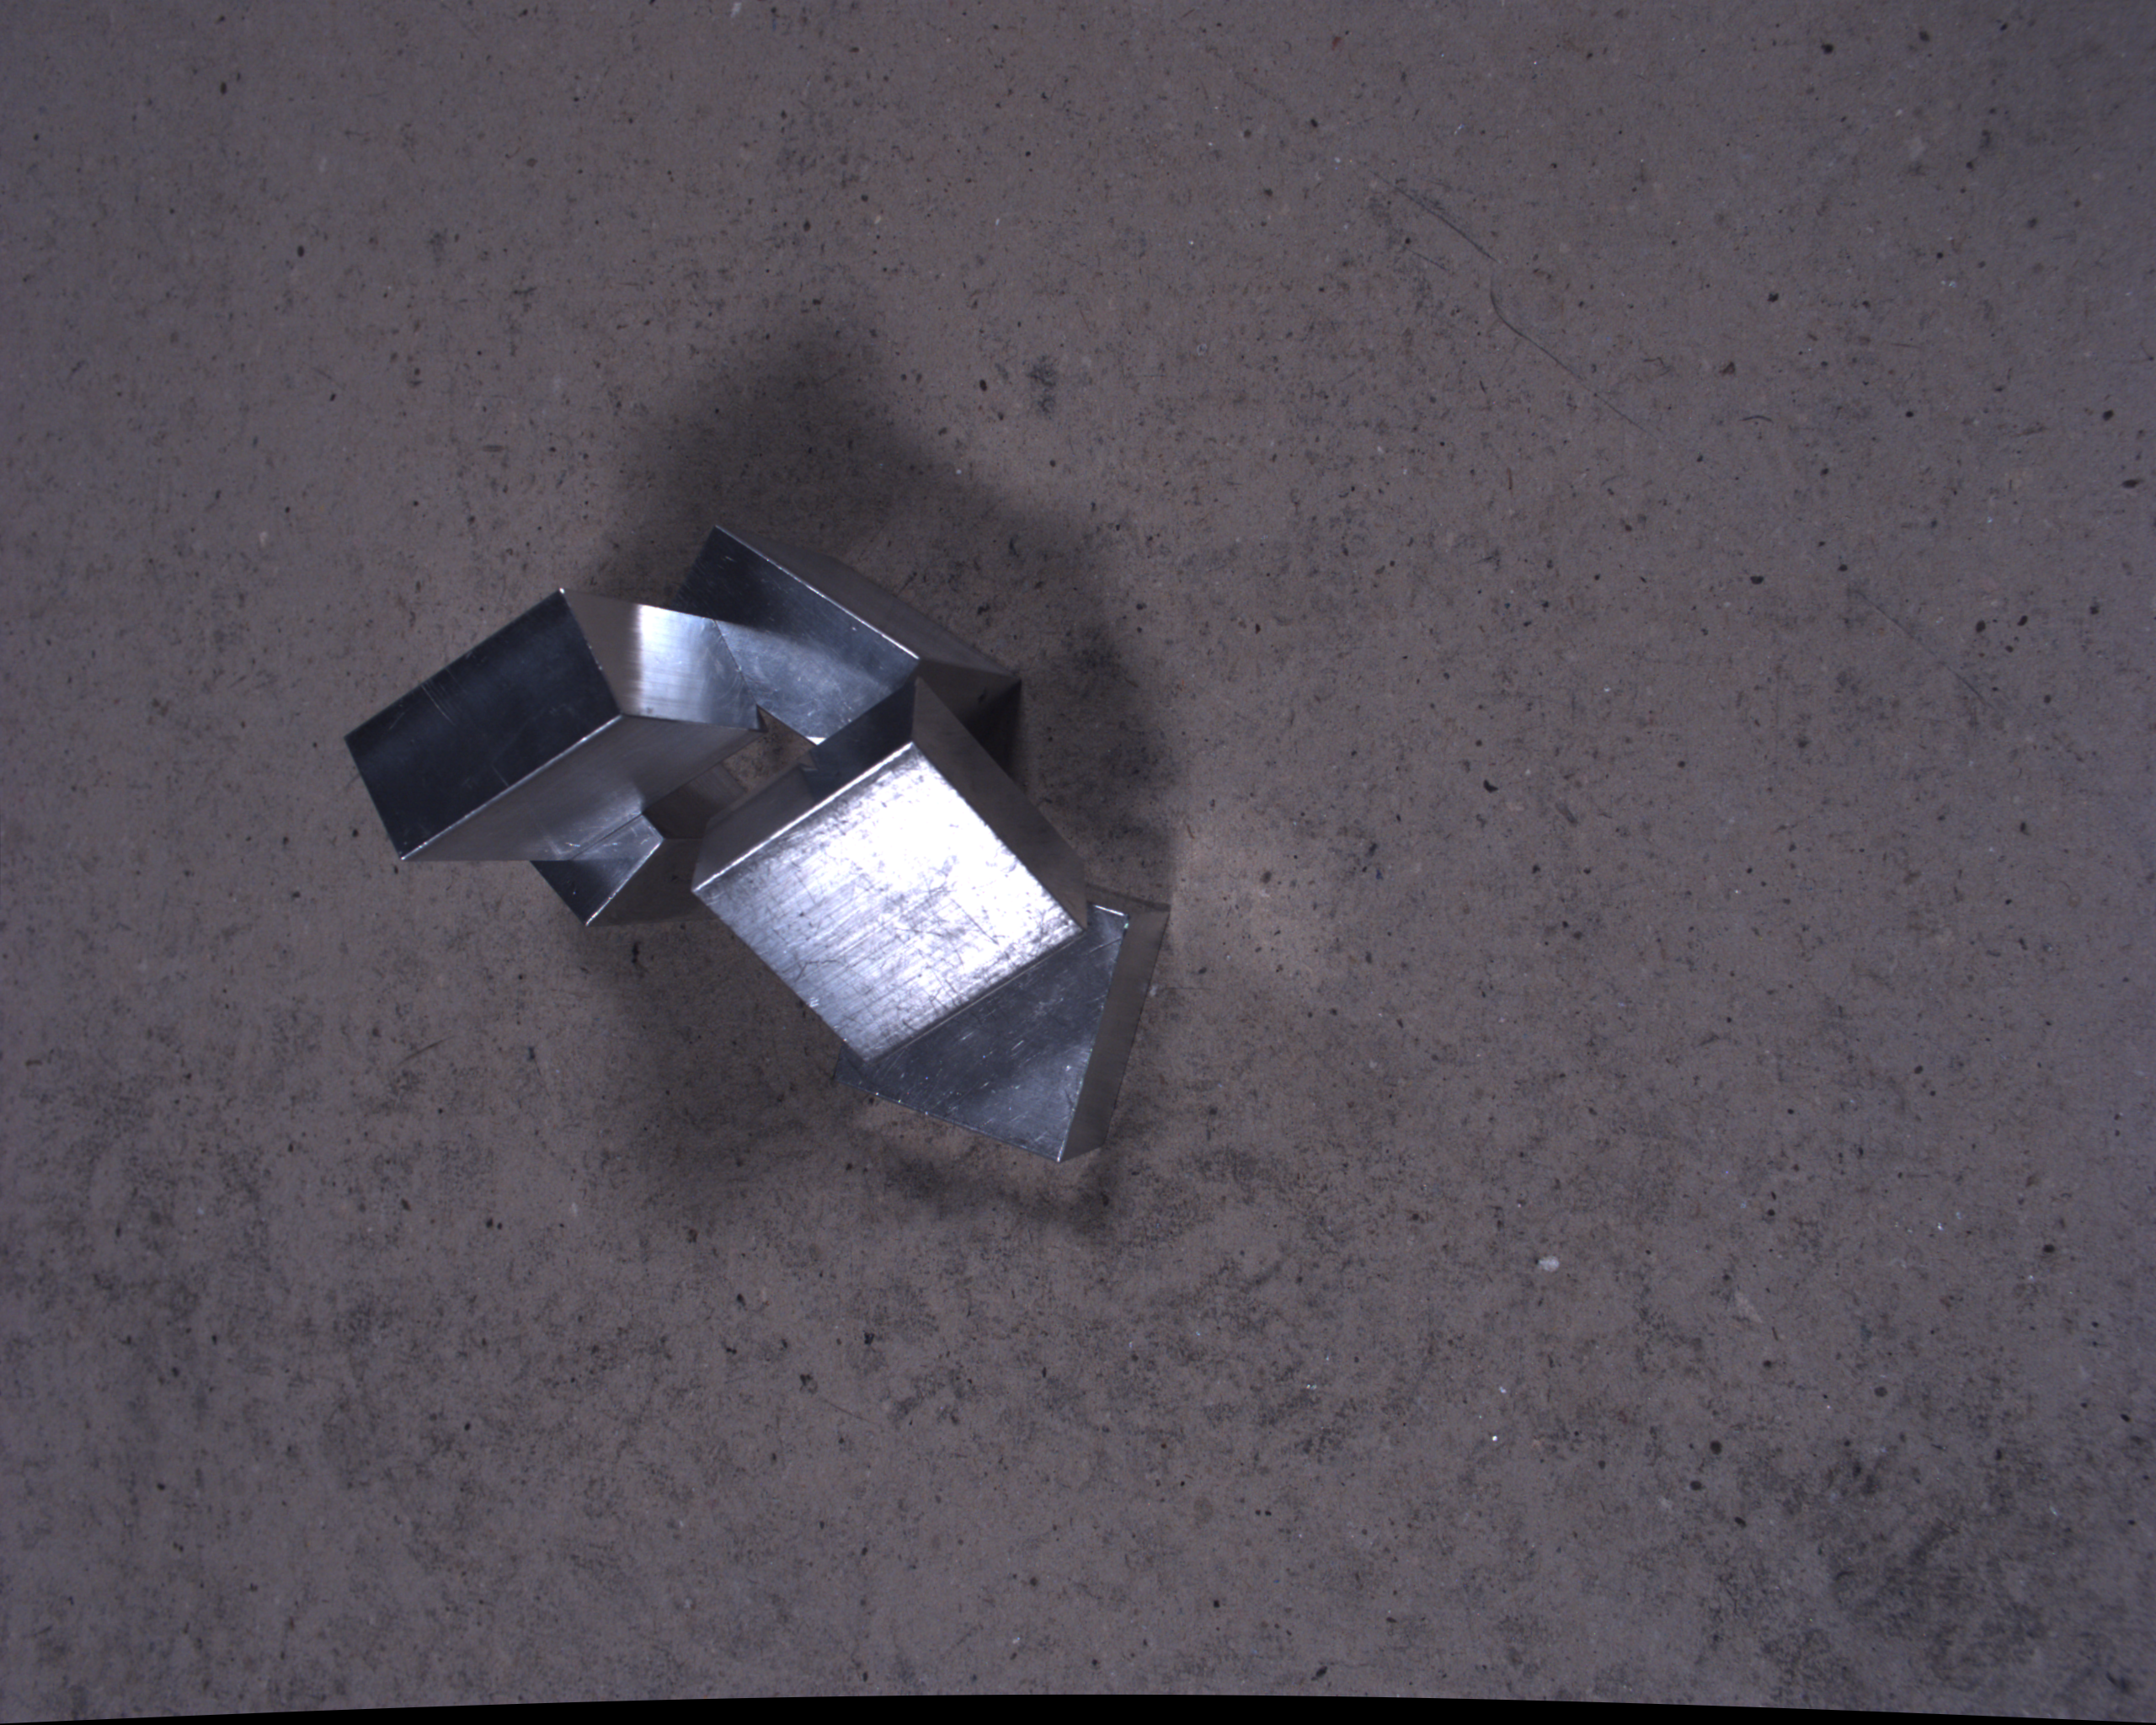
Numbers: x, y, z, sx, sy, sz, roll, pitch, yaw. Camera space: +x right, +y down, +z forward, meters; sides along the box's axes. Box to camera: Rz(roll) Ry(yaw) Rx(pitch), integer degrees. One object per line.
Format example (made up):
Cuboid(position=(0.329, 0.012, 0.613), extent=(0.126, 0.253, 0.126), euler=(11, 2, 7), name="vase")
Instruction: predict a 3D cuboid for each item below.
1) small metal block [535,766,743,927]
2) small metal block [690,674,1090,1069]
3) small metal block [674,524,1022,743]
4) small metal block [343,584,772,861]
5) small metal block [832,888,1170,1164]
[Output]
Cuboid(position=(-0.095, -0.014, 0.429), extent=(0.025, 0.050, 0.050), euler=(-47, 76, 14), name="small metal block")
Cuboid(position=(-0.033, 0.002, 0.381), extent=(0.050, 0.025, 0.050), euler=(-33, 117, 17), name="small metal block")
Cuboid(position=(-0.046, -0.040, 0.412), extent=(0.050, 0.050, 0.025), euler=(34, 101, 16), name="small metal block")
Cuboid(position=(-0.092, -0.023, 0.375), extent=(0.050, 0.050, 0.025), euler=(-31, 80, 17), name="small metal block")
Cuboid(position=(-0.015, 0.027, 0.415), extent=(0.050, 0.025, 0.050), euler=(17, 96, 18), name="small metal block")
